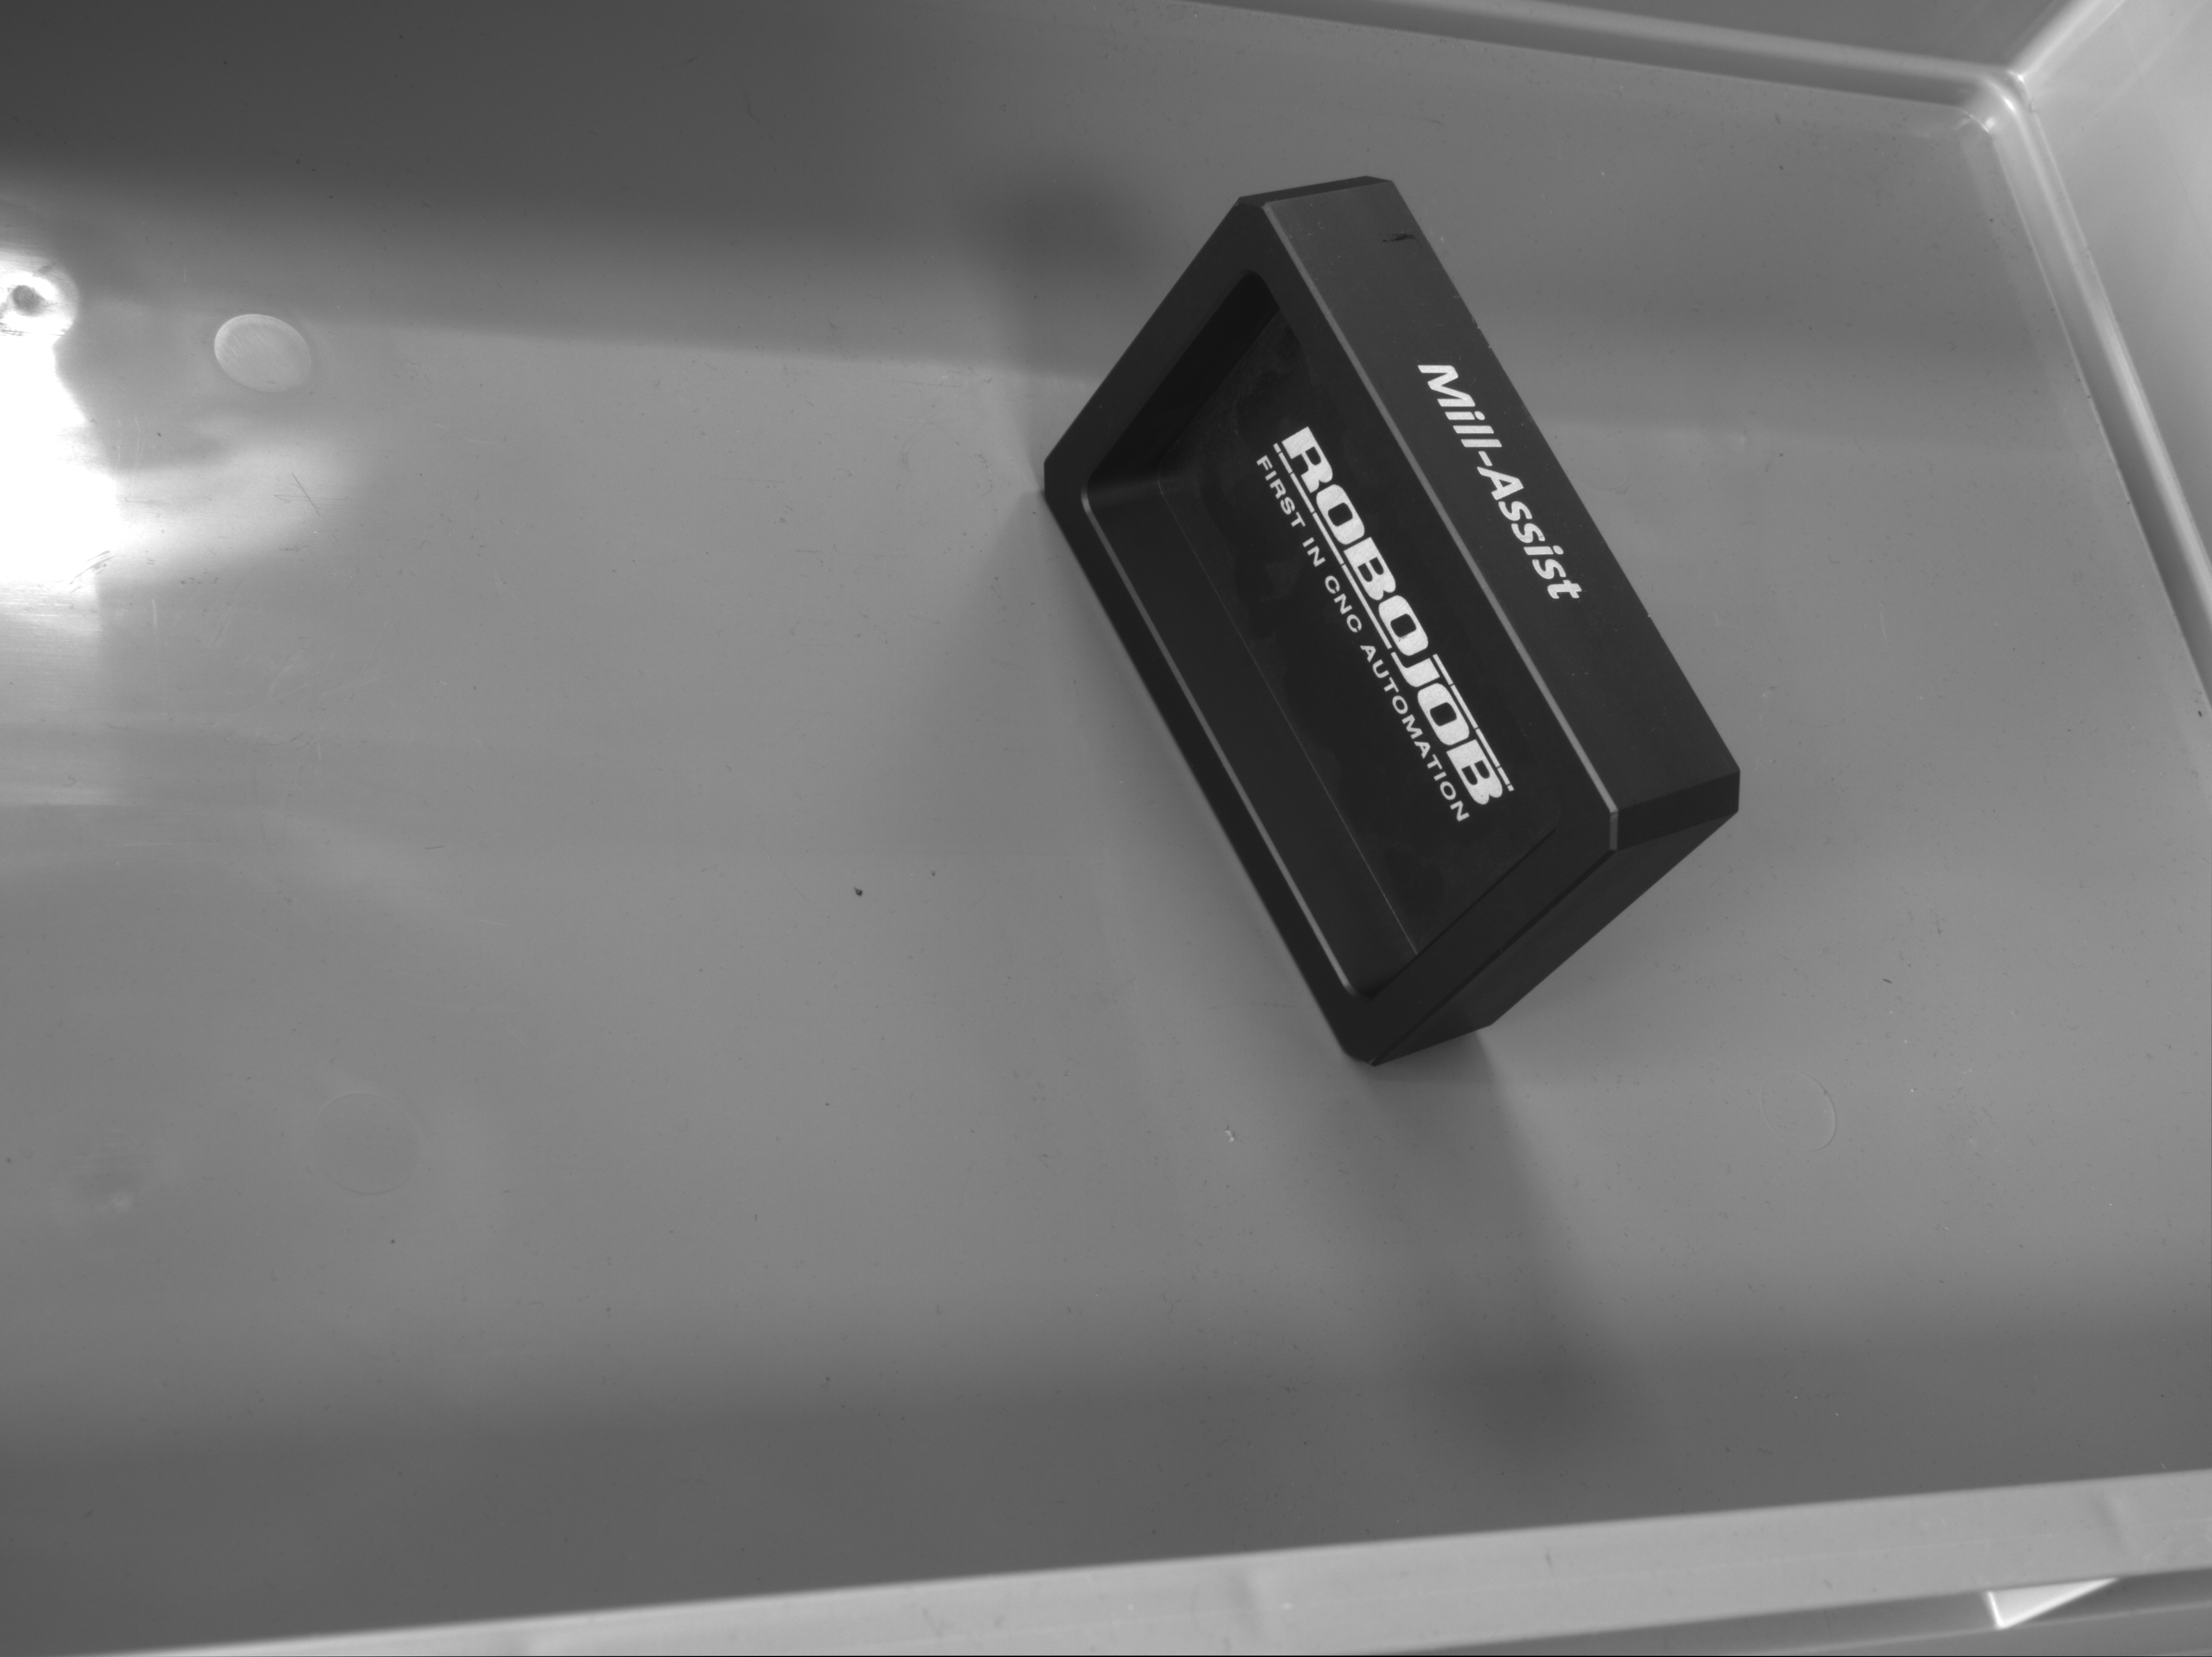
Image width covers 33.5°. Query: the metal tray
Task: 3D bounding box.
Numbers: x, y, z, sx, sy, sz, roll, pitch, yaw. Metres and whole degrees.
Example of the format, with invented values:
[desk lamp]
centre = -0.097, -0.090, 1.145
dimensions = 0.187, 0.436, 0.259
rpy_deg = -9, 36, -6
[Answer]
[metal tray]
centre = 0.046, -0.035, 0.641
dimensions = 0.030, 0.090, 0.130
rpy_deg = -16, 70, -35
